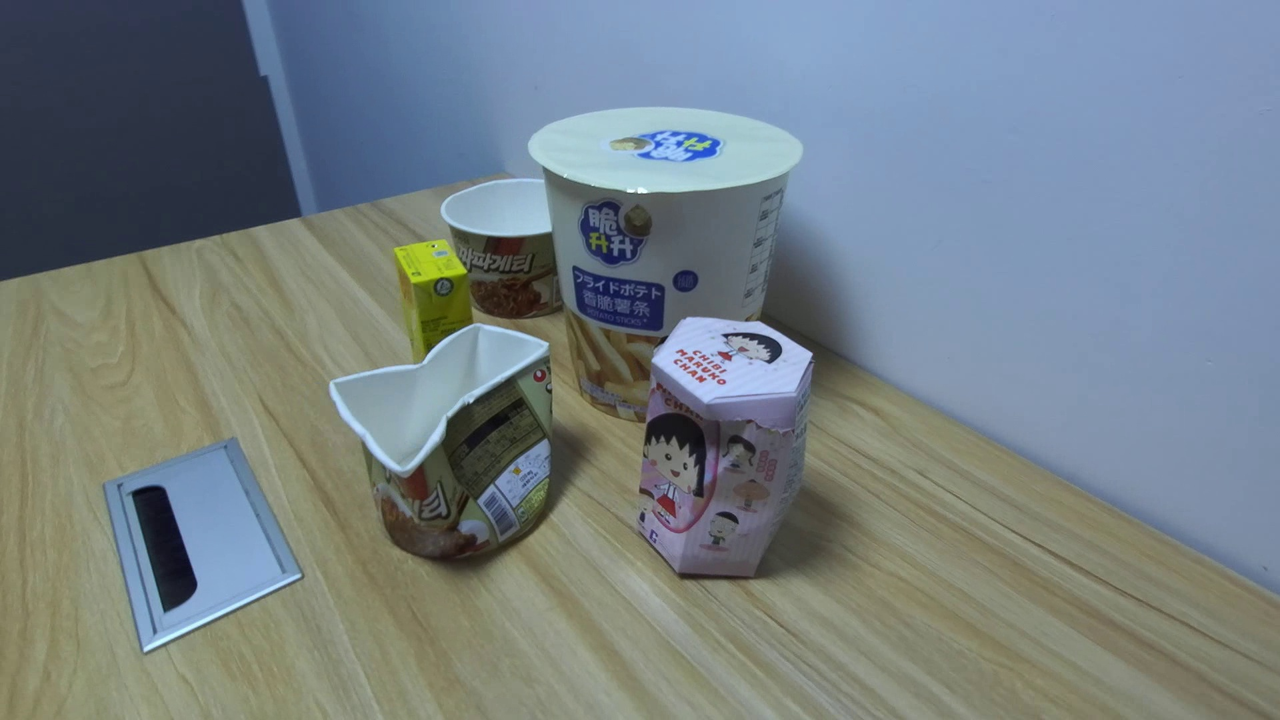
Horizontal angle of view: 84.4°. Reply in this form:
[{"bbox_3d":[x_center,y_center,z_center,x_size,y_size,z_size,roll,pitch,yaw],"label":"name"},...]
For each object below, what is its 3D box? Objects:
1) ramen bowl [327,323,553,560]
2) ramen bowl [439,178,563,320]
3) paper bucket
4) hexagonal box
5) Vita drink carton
[{"bbox_3d":[-0.110,0.049,0.450,0.129,0.093,0.111,-28,44,-35],"label":"ramen bowl"},{"bbox_3d":[-0.113,-0.106,0.683,0.140,0.095,0.140,0,34,0],"label":"ramen bowl"},{"bbox_3d":[0.017,-0.072,0.543,0.198,0.195,0.198,0,35,0],"label":"paper bucket"},{"bbox_3d":[0.047,0.051,0.415,0.090,0.134,0.091,5,33,2],"label":"hexagonal box"},{"bbox_3d":[-0.156,-0.032,0.557,0.044,0.109,0.066,-16,38,-21],"label":"Vita drink carton"}]
